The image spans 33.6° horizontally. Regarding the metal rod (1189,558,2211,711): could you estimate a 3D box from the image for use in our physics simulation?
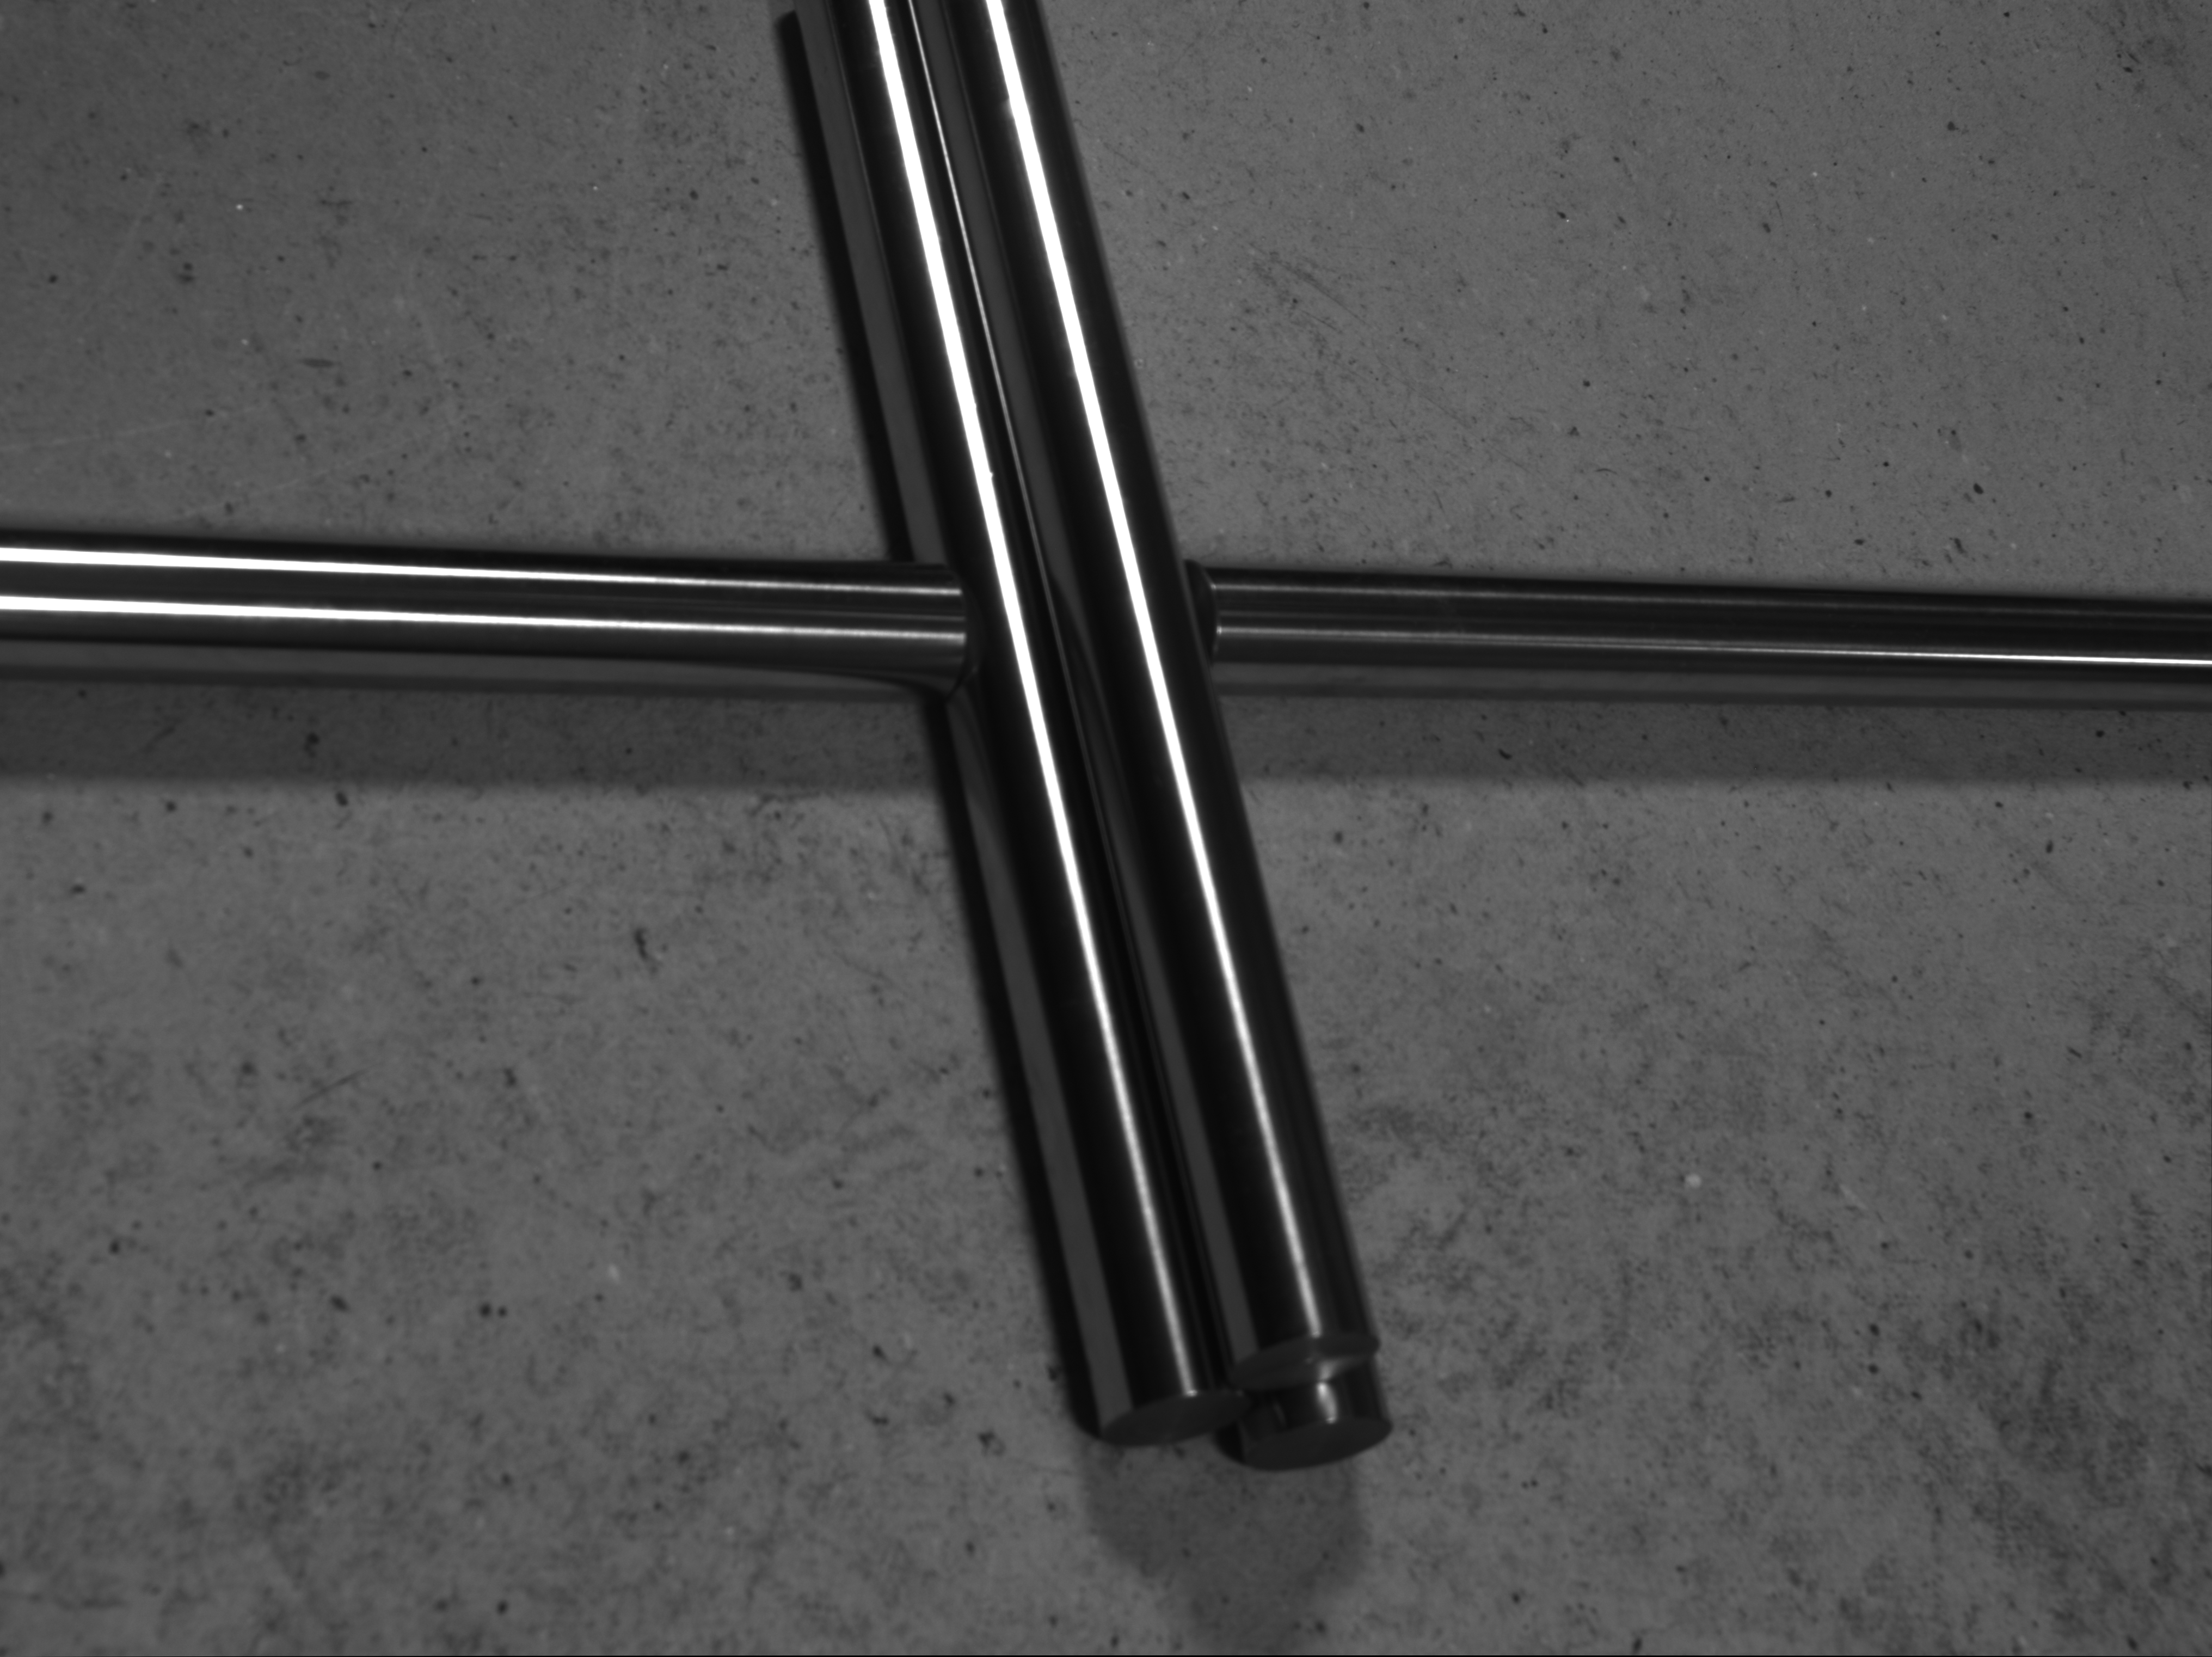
[{"bbox_3d":[0.148,-0.038,0.742,0.301,0.025,0.025,0,62,-28],"label":"metal rod"}]

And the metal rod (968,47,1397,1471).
[{"bbox_3d":[0.005,-0.031,0.663,0.025,0.025,0.300,1,61,-27],"label":"metal rod"}]

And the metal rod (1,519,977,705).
[{"bbox_3d":[-0.161,-0.036,0.575,0.301,0.025,0.025,1,61,-28],"label":"metal rod"}]

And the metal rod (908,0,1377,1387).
[{"bbox_3d":[0.000,-0.048,0.644,0.025,0.025,0.300,1,61,-27],"label":"metal rod"}]

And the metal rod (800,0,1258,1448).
[{"bbox_3d":[-0.018,-0.037,0.654,0.025,0.025,0.300,1,61,-27],"label":"metal rod"}]
